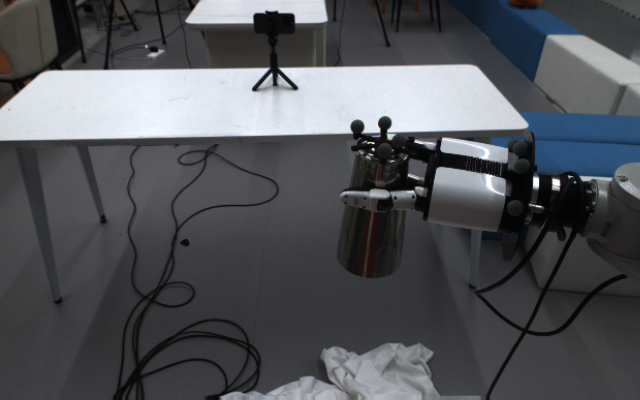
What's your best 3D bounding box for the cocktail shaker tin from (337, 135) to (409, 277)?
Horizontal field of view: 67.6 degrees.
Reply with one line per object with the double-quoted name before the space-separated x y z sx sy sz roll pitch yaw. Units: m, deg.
"cocktail shaker tin" 0.077 0.007 0.647 0.093 0.170 0.093 3 33 -2
